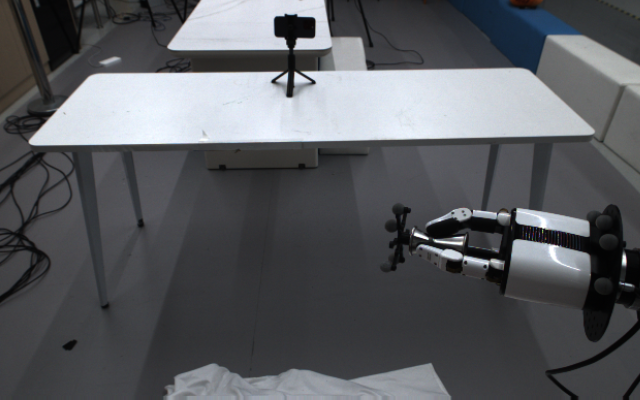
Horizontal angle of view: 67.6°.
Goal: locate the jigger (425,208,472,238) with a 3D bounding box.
[{"bbox_3d":[0.159,0.054,0.621,0.071,0.043,0.043,8,34,23],"label":"jigger"}]
